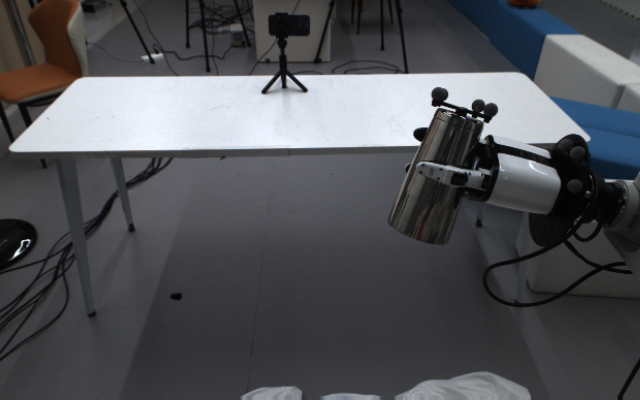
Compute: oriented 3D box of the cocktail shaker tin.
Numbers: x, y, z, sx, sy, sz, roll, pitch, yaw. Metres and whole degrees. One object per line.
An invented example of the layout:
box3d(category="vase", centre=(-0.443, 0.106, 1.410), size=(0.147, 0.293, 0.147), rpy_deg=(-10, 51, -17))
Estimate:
box3d(category="cocktail shaker tin", centre=(0.164, -0.036, 0.670), size=(0.093, 0.170, 0.093), rpy_deg=(15, 17, -5))
